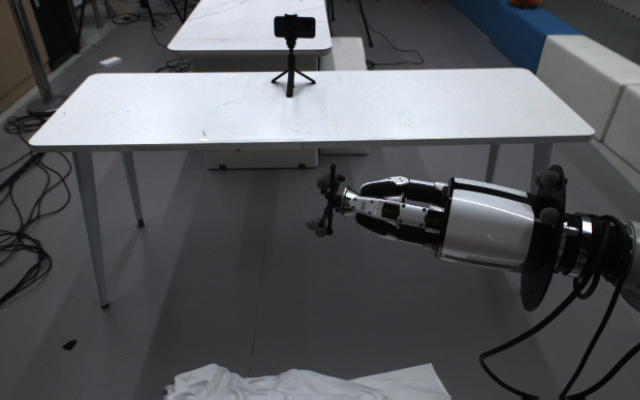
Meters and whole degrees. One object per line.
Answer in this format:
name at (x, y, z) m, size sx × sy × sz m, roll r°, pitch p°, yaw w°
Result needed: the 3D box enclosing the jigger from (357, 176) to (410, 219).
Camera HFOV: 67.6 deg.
jigger at (0.068, 0.003, 0.565) m, size 0.071 × 0.043 × 0.043 m, roll 7°, pitch 35°, yaw 16°
